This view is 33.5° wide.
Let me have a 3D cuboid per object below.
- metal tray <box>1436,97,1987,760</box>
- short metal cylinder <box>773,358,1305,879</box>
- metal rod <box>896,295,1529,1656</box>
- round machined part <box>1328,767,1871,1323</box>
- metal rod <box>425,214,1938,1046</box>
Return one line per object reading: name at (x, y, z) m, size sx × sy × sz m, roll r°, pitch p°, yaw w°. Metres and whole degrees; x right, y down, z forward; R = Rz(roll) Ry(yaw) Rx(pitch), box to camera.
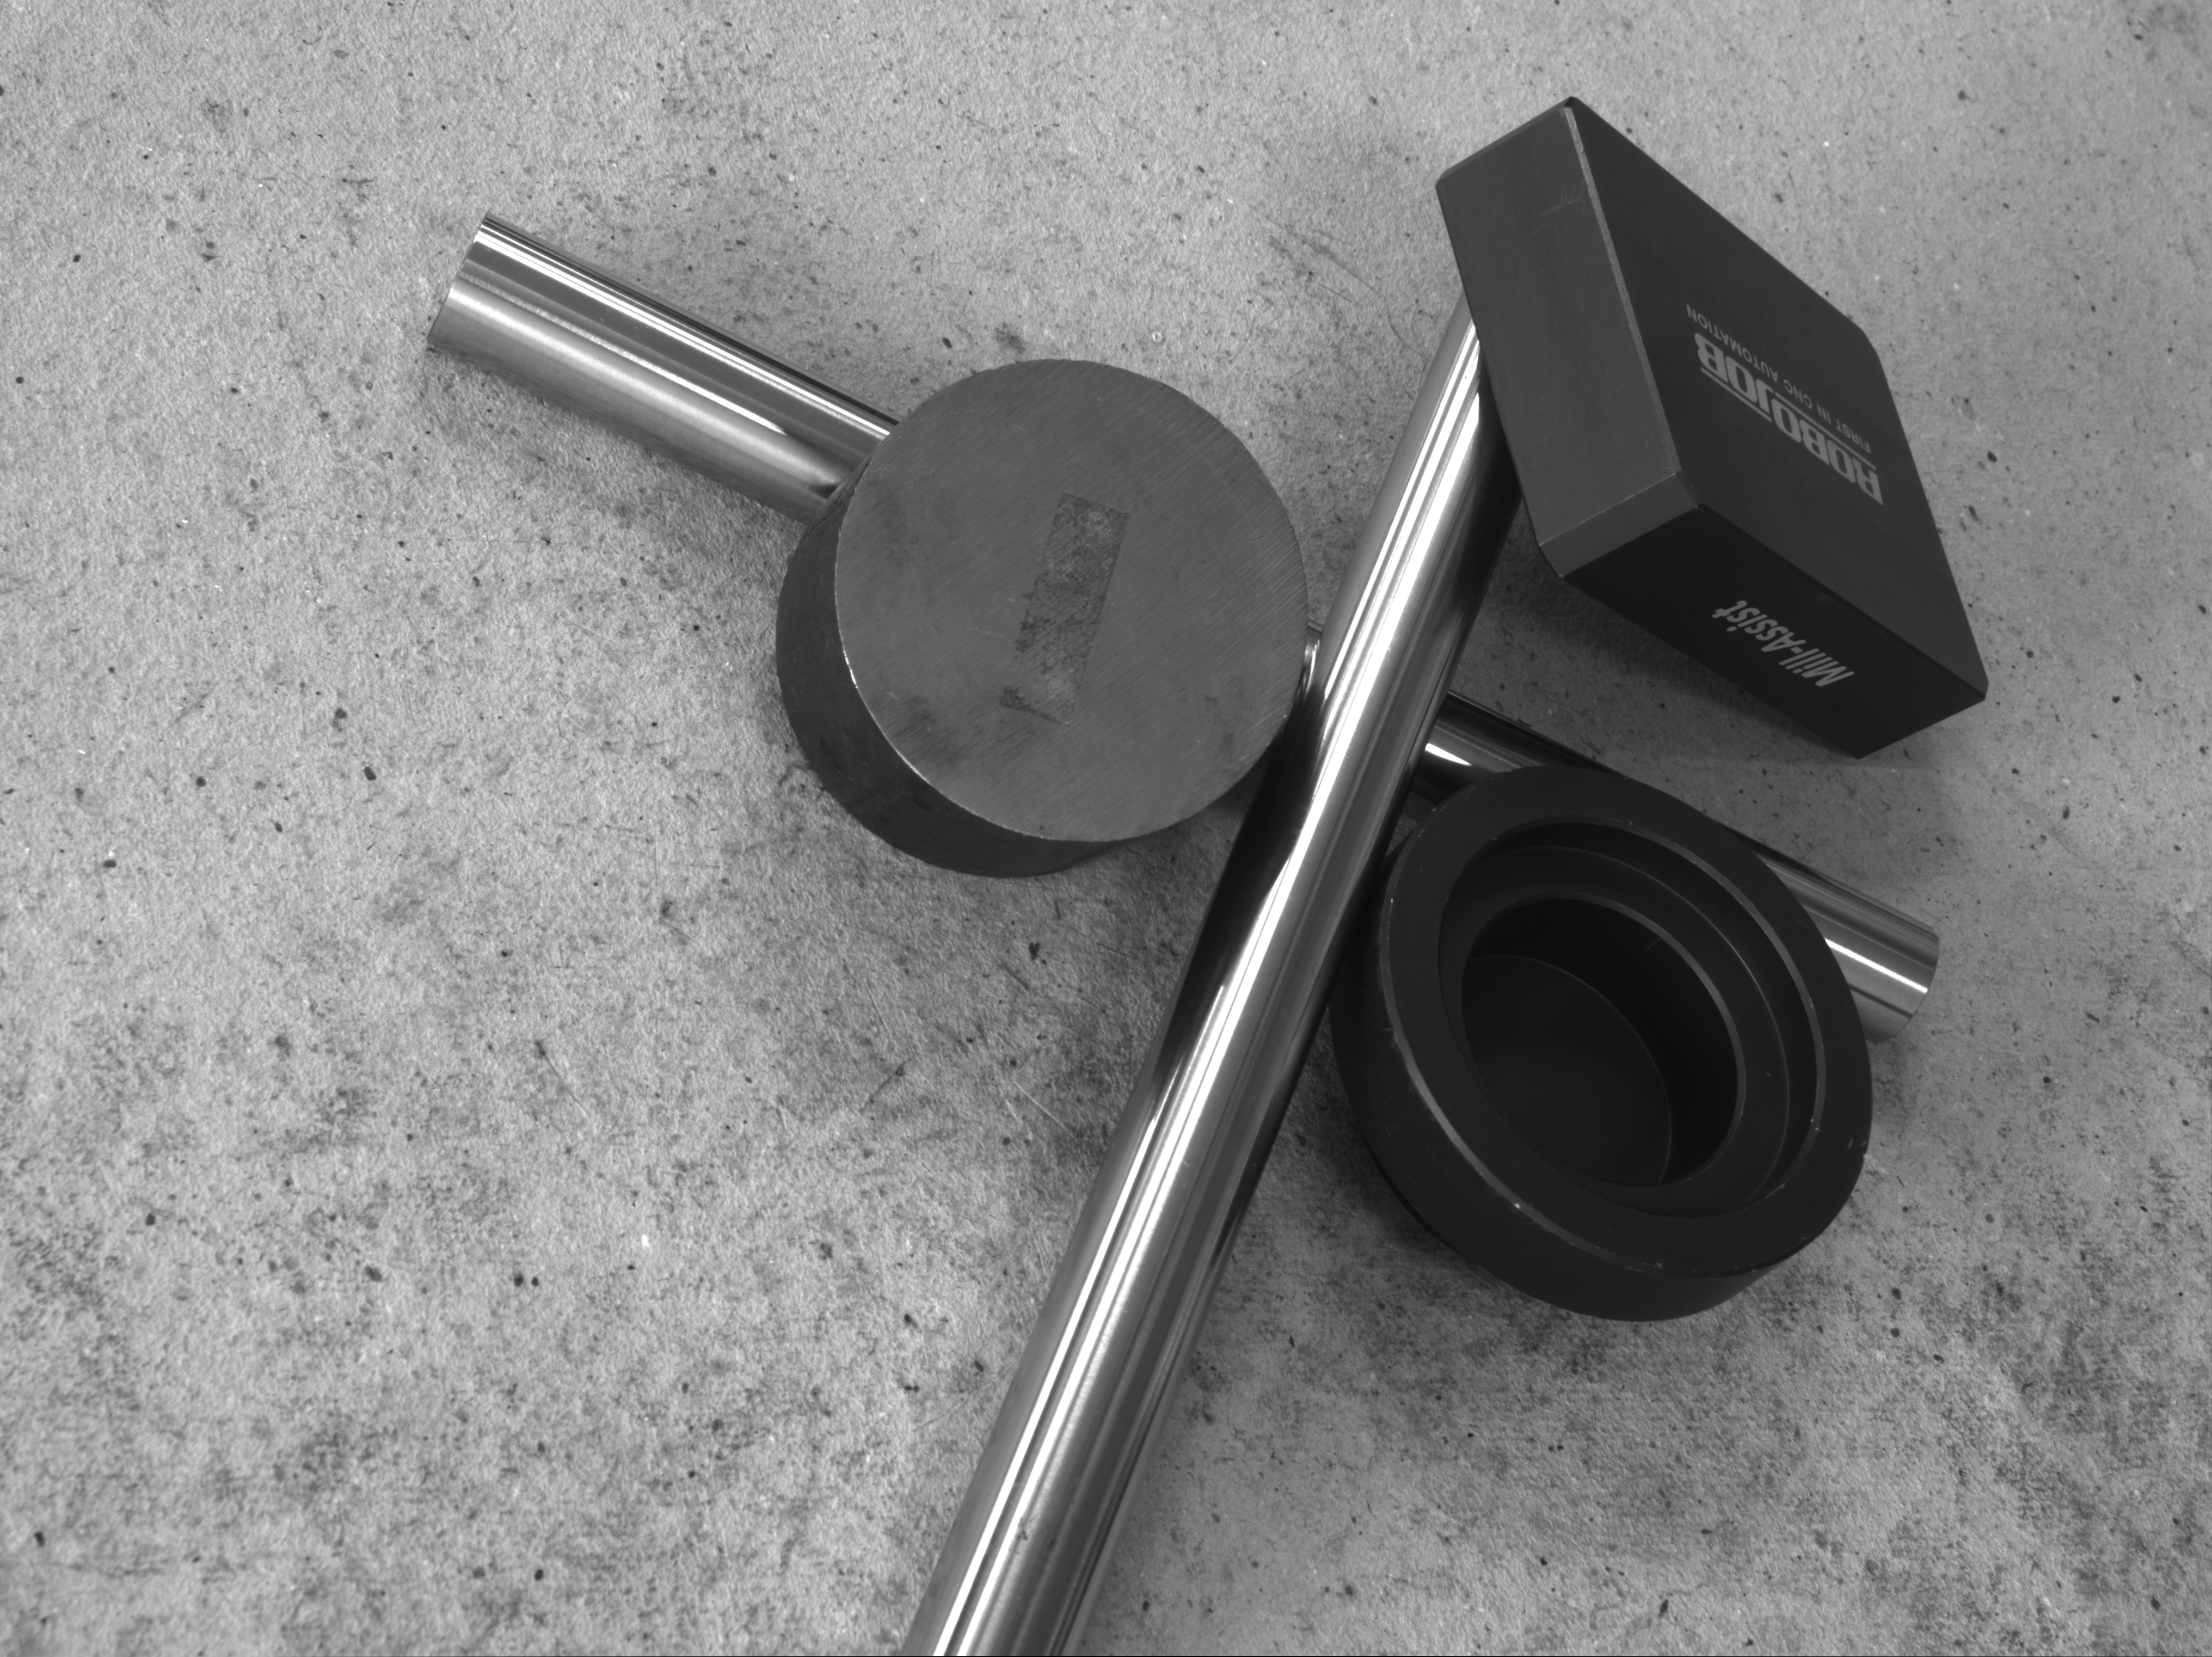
metal tray at (0.119, -0.074, 0.709) m, size 0.130 × 0.030 × 0.090 m, roll 23°, pitch 47°, yaw -50°
short metal cylinder at (-0.012, -0.034, 0.621) m, size 0.080 × 0.050 × 0.080 m, roll 2°, pitch 82°, yaw -16°
metal rod at (0.029, 0.016, 0.624) m, size 0.025 × 0.025 × 0.300 m, roll 29°, pitch 59°, yaw -9°
round machined part at (0.082, 0.042, 0.647) m, size 0.098 × 0.042 × 0.098 m, roll 13°, pitch 56°, yaw -21°
metal rod at (0.019, -0.033, 0.671) m, size 0.300 × 0.025 × 0.025 m, roll 25°, pitch 53°, yaw -12°
